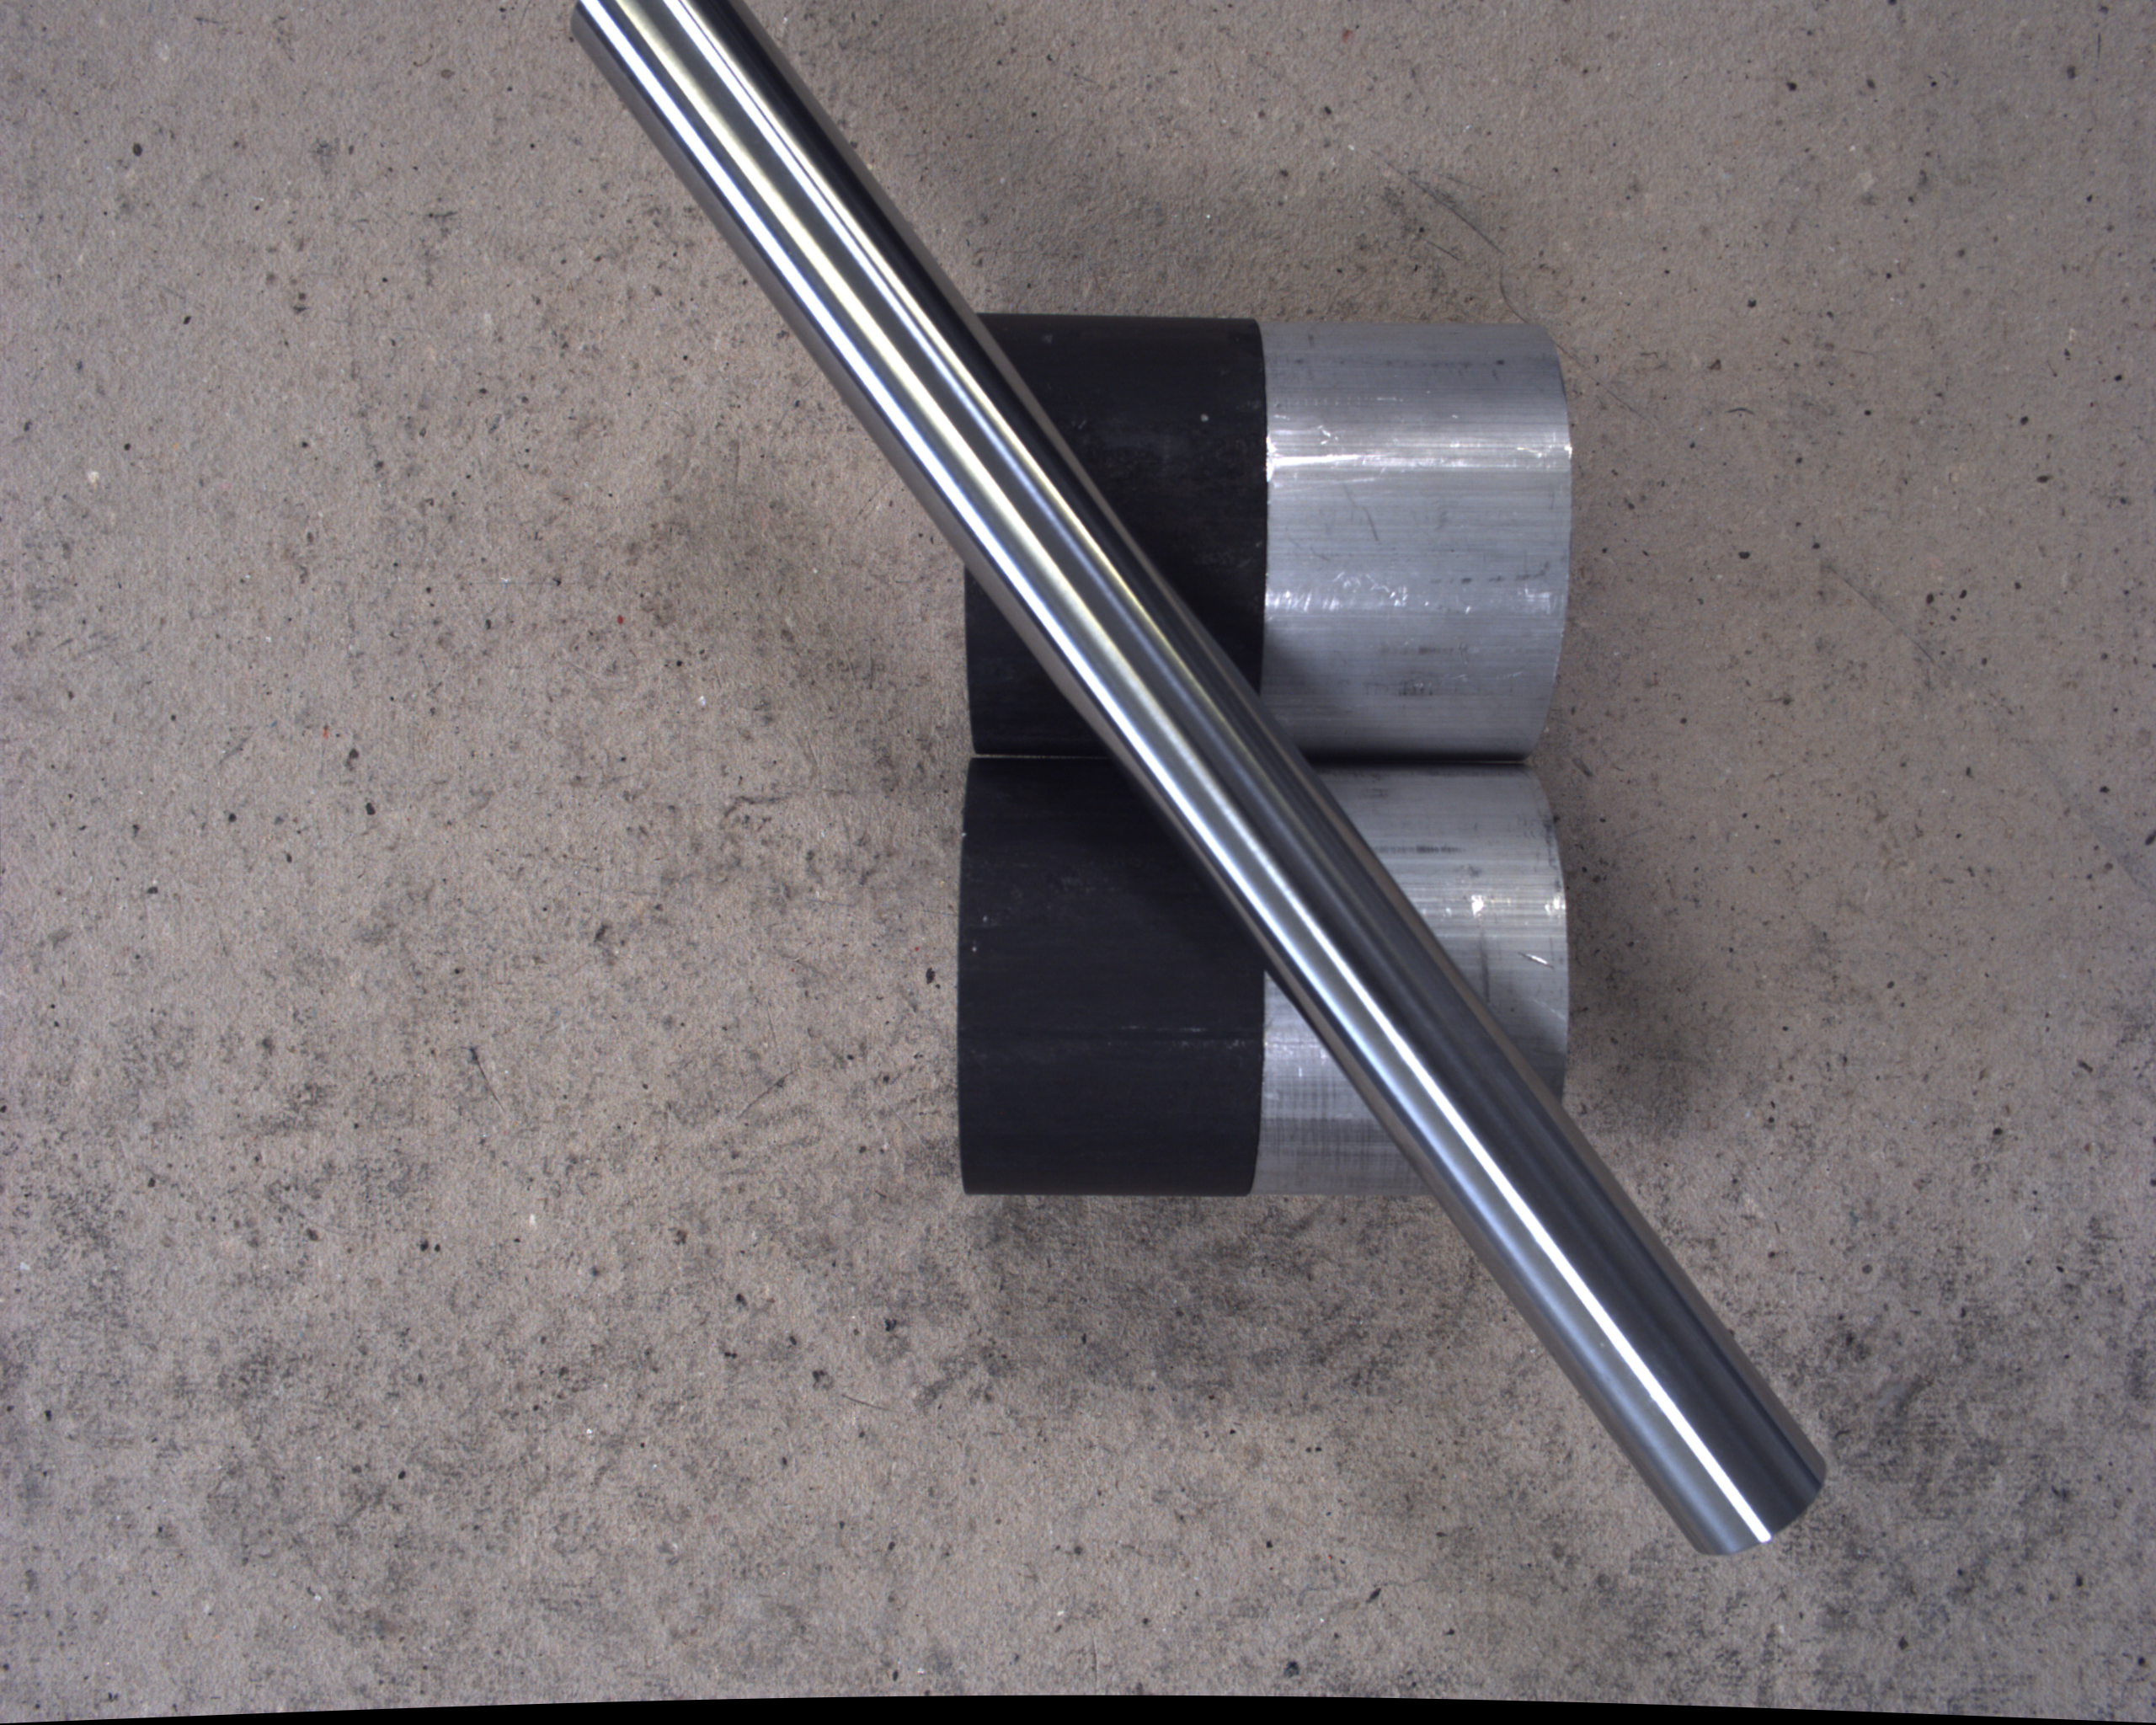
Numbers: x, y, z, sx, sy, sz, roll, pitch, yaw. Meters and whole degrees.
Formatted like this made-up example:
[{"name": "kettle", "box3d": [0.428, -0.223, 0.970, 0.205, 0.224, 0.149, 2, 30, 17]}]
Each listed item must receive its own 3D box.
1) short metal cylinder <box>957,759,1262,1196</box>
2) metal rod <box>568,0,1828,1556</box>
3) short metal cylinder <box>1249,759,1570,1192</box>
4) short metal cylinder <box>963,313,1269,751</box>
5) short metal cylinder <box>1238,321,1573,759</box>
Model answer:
[{"name": "short metal cylinder", "box3d": [0.005, 0.021, 0.384, 0.050, 0.080, 0.079, 1, 90, 0]}, {"name": "metal rod", "box3d": [0.019, -0.018, 0.331, 0.025, 0.025, 0.299, -37, 90, 0]}, {"name": "short metal cylinder", "box3d": [0.056, 0.021, 0.384, 0.050, 0.080, 0.079, 1, 90, 0]}, {"name": "short metal cylinder", "box3d": [0.006, -0.060, 0.384, 0.050, 0.080, 0.079, 1, 90, 0]}, {"name": "short metal cylinder", "box3d": [0.057, -0.059, 0.384, 0.050, 0.080, 0.079, 1, 90, 0]}]
